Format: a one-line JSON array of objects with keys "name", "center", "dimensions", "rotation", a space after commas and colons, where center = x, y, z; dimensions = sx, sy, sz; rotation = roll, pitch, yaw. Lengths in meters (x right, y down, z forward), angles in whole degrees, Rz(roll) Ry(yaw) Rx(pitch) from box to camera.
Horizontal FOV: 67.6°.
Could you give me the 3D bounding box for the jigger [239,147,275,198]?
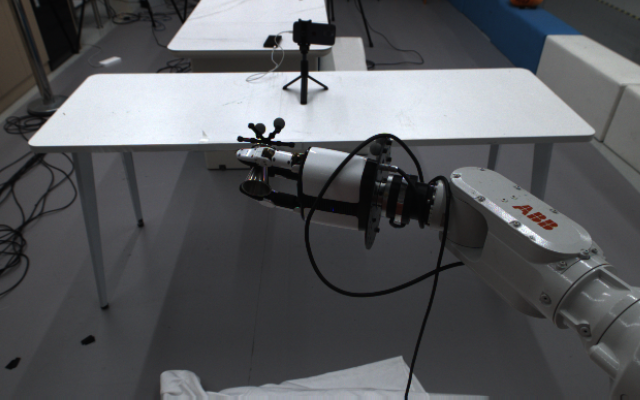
[{"name": "jigger", "center": [-0.090, -0.047, 0.719], "dimensions": [0.043, 0.043, 0.071], "rotation": [5, 60, 4]}]
